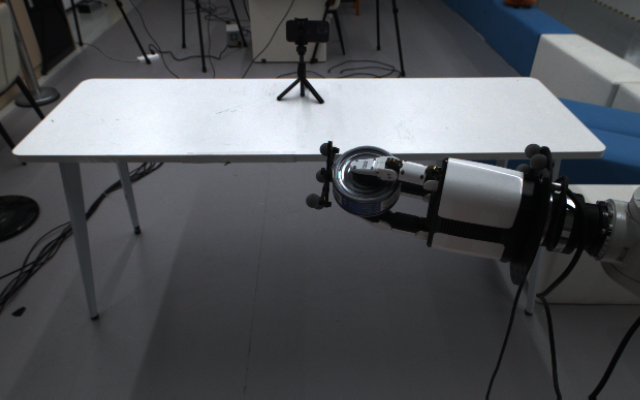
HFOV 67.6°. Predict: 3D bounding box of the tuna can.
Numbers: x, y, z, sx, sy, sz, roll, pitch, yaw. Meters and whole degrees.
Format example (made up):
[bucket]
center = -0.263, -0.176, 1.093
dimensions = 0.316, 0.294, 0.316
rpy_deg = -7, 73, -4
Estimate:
[tuna can]
center = 0.061, -0.021, 0.591
dimensions = 0.085, 0.034, 0.085
rpy_deg = -2, 57, 3
